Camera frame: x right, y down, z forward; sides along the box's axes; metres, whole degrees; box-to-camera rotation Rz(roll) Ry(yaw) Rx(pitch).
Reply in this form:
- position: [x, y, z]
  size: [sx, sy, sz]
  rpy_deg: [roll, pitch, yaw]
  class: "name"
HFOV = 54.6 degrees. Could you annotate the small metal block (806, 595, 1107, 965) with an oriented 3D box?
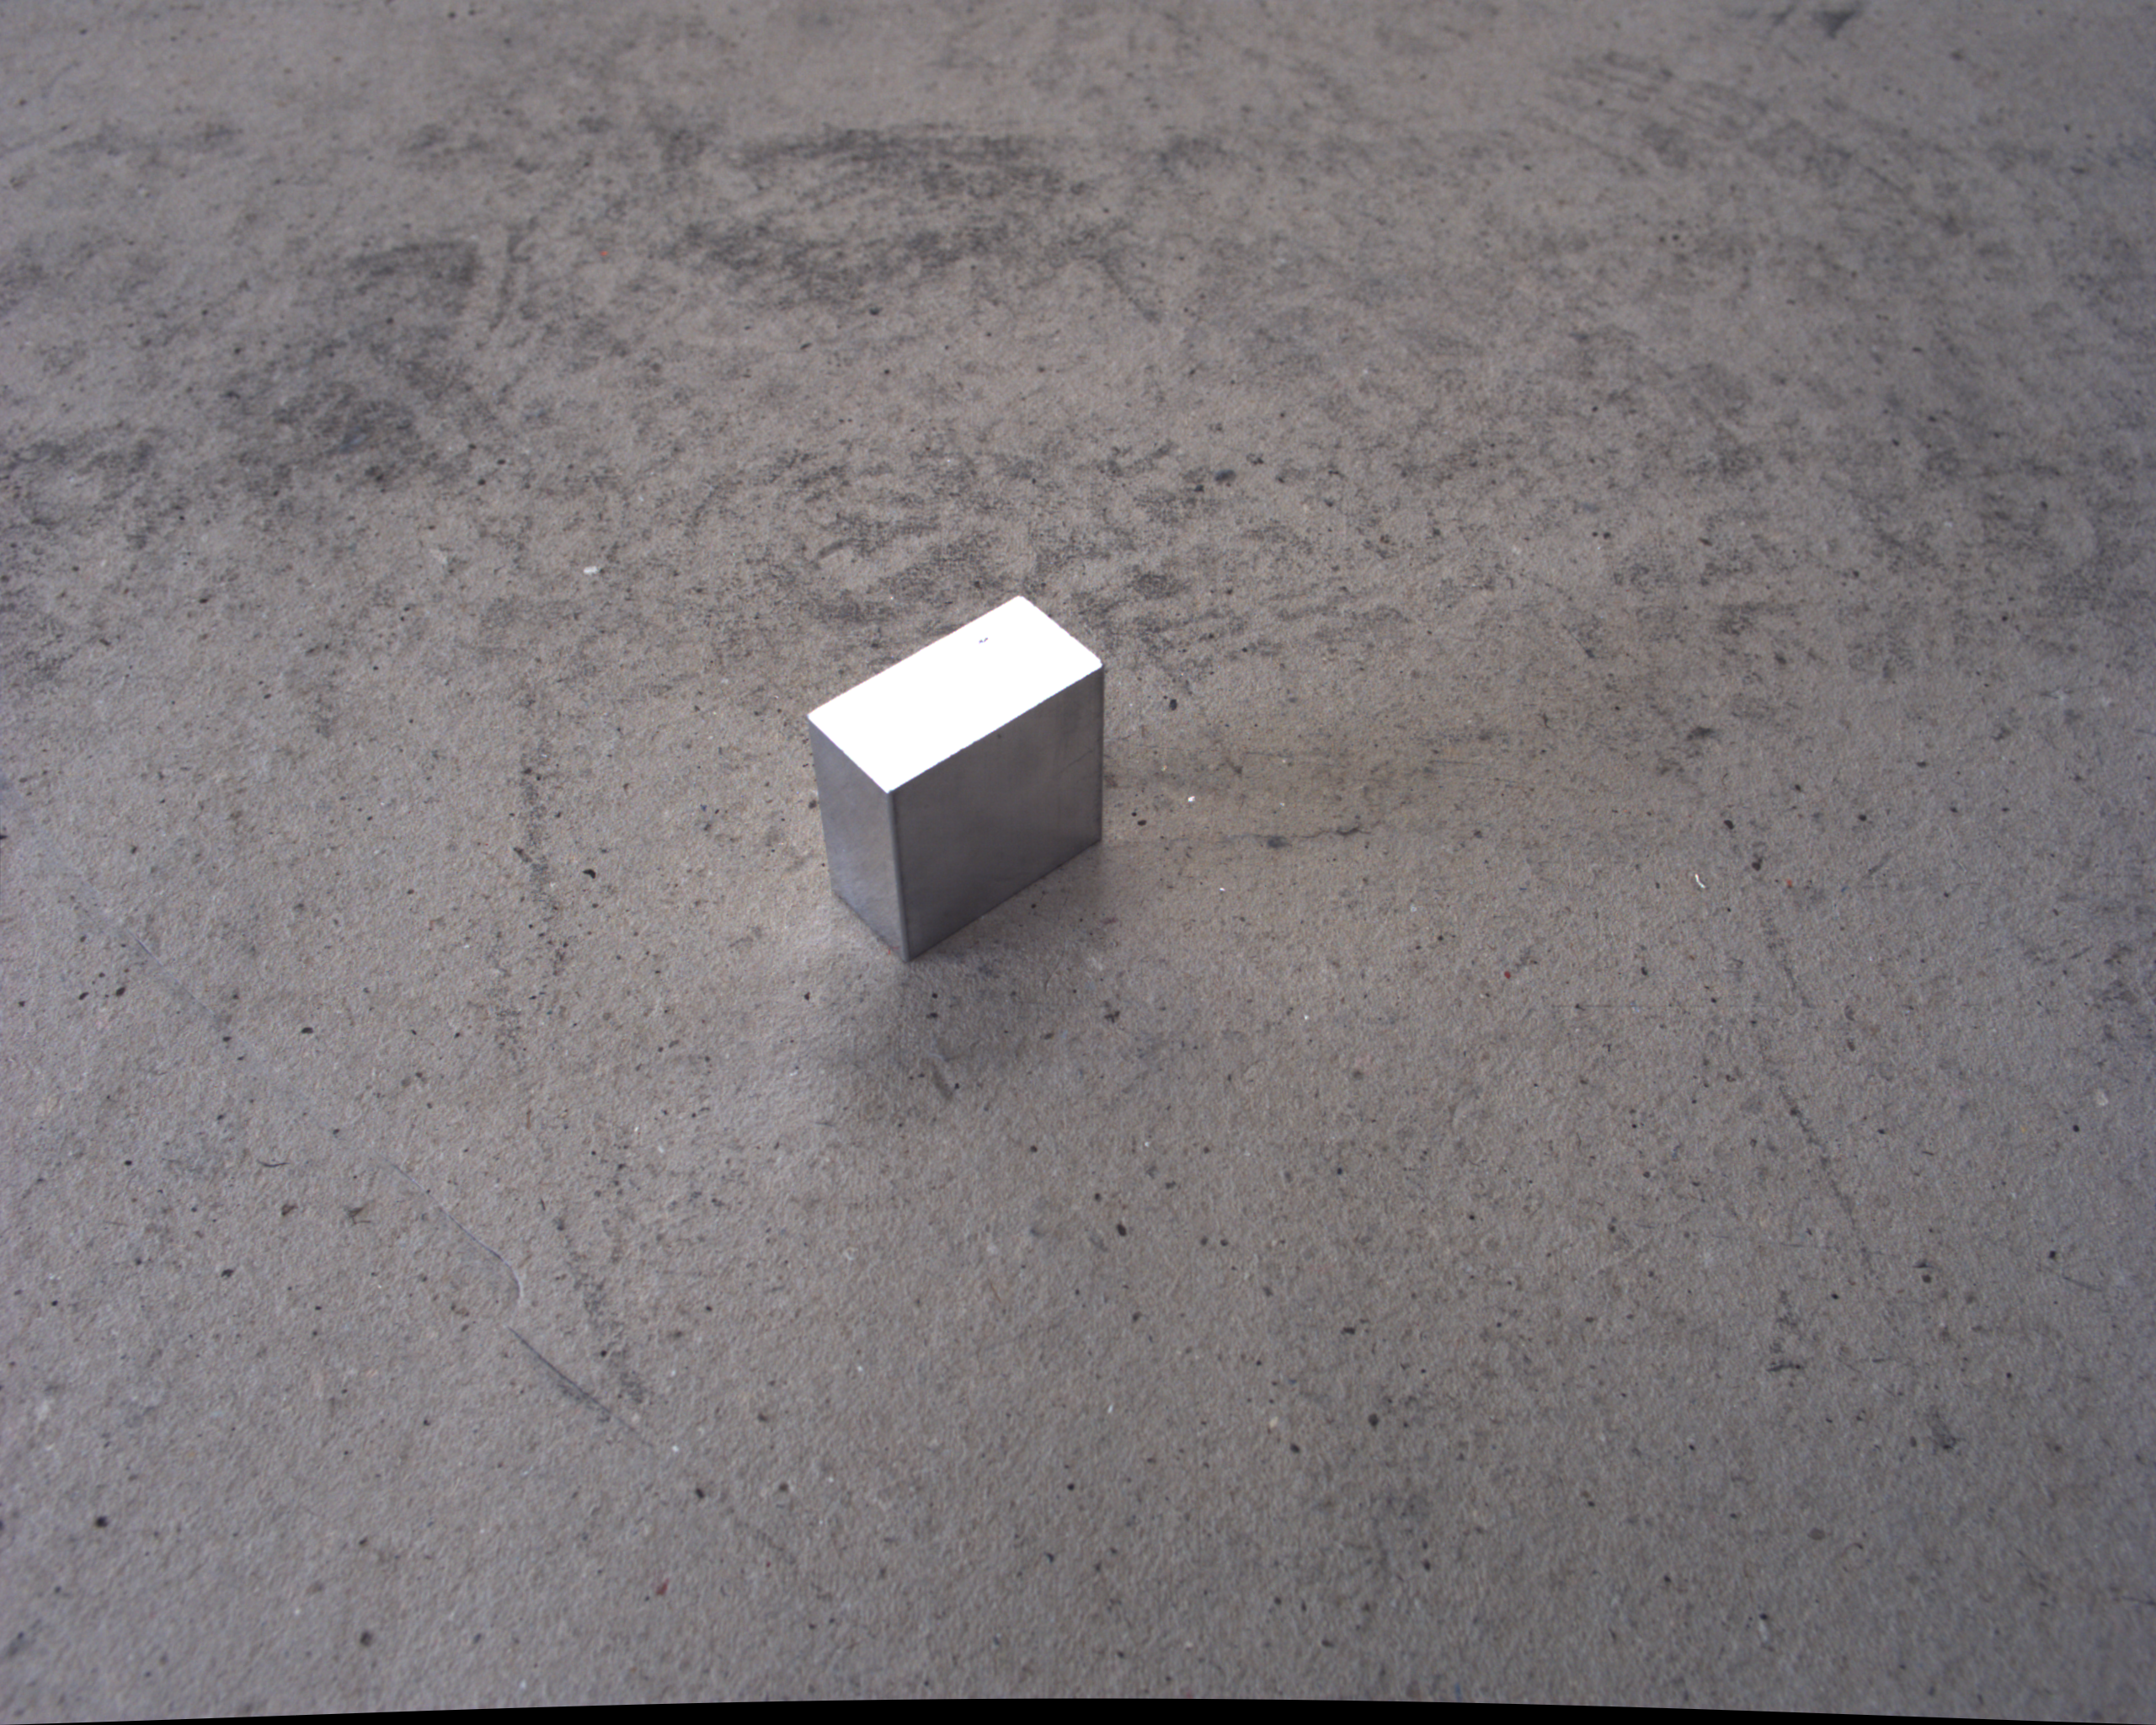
- position: [-0.022, -0.016, 0.402]
  size: [0.050, 0.050, 0.025]
  rpy_deg: [-33, 57, -25]
  class: "small metal block"
